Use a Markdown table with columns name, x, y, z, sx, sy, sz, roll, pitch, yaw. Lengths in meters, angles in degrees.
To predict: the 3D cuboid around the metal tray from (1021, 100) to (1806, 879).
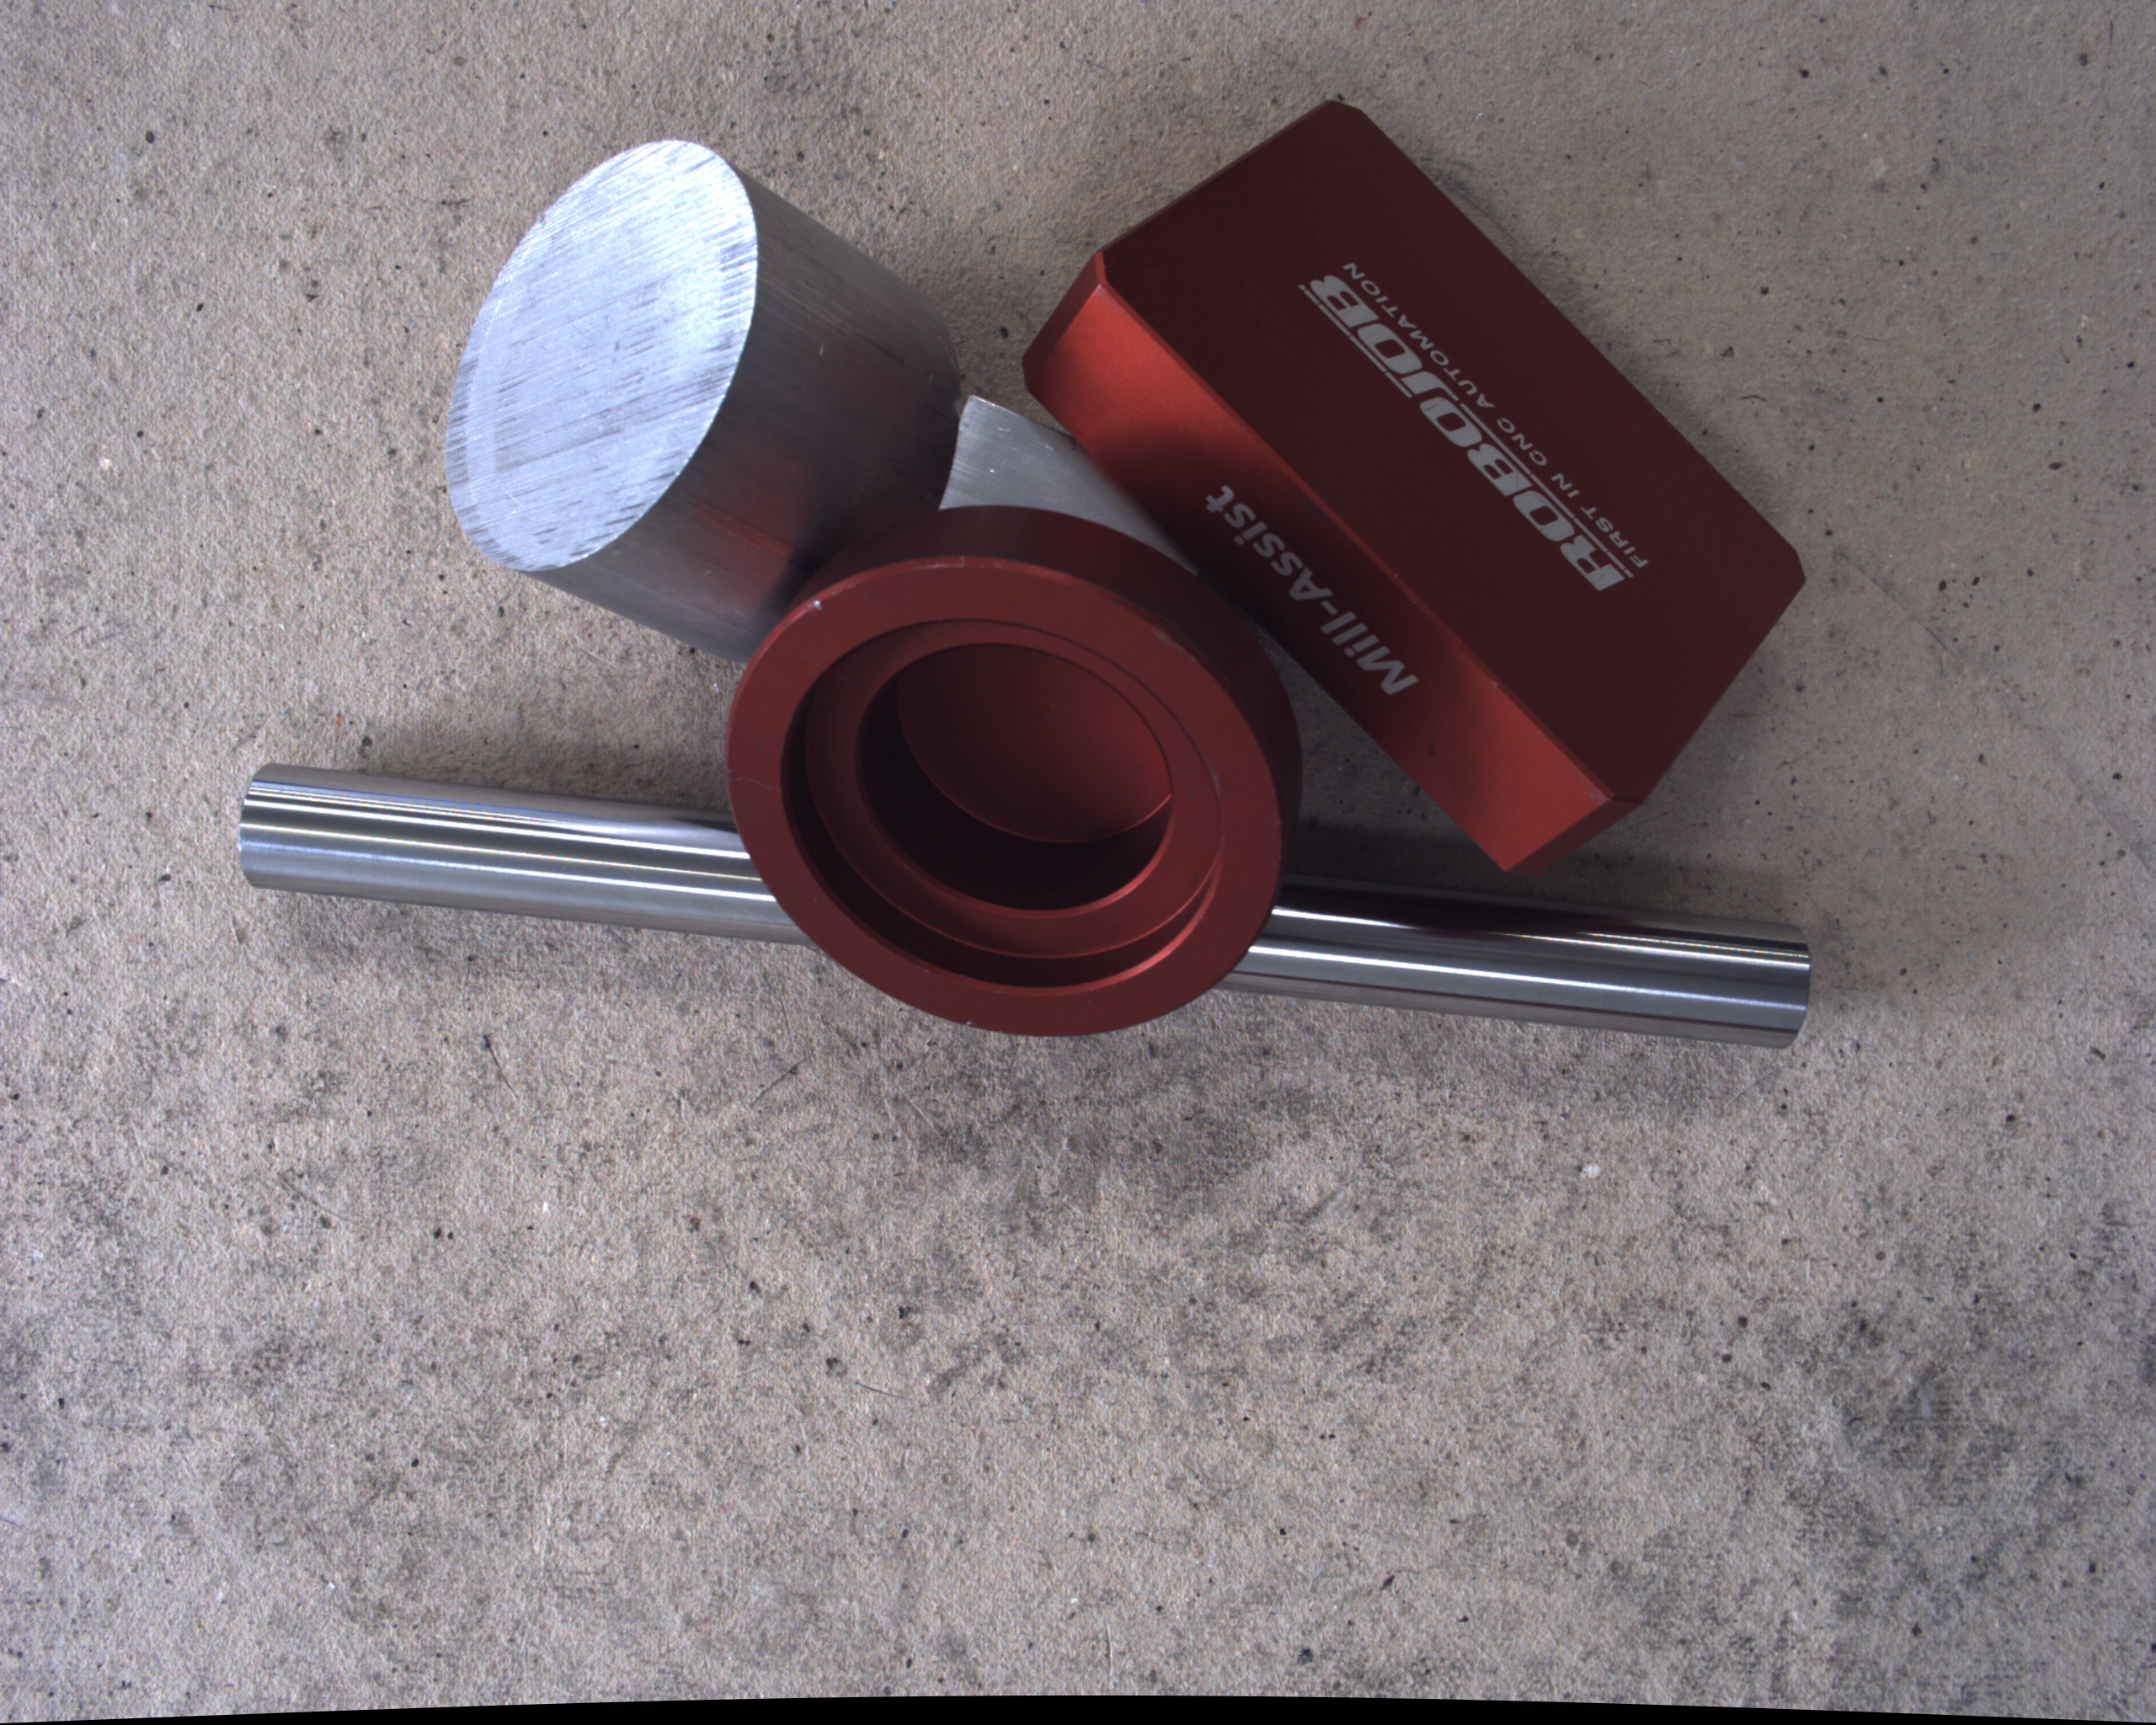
| name | x | y | z | sx | sy | sz | roll | pitch | yaw |
| --- | --- | --- | --- | --- | --- | --- | --- | --- | --- |
| metal tray | 0.064 | -0.071 | 0.384 | 0.130 | 0.030 | 0.090 | 45 | 51 | 0 |

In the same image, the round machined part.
| name | x | y | z | sx | sy | sz | roll | pitch | yaw |
| --- | --- | --- | --- | --- | --- | --- | --- | --- | --- |
| round machined part | -0.009 | -0.020 | 0.372 | 0.098 | 0.042 | 0.097 | 7 | 126 | 10 |

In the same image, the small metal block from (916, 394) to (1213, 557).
| name | x | y | z | sx | sy | sz | roll | pitch | yaw |
| --- | --- | --- | --- | --- | --- | --- | --- | --- | --- |
| small metal block | -0.002 | -0.062 | 0.397 | 0.050 | 0.050 | 0.025 | 24 | 90 | 0 |

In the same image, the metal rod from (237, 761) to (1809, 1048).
| name | x | y | z | sx | sy | sz | roll | pitch | yaw |
| --- | --- | --- | --- | --- | --- | --- | --- | --- | --- |
| metal rod | -0.010 | 0.008 | 0.411 | 0.302 | 0.025 | 0.025 | 6 | 90 | -1 |

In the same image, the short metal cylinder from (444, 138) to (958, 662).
| name | x | y | z | sx | sy | sz | roll | pitch | yaw |
| --- | --- | --- | --- | --- | --- | --- | --- | --- | --- |
| short metal cylinder | -0.069 | -0.082 | 0.378 | 0.080 | 0.050 | 0.080 | -13 | 68 | 35 |
